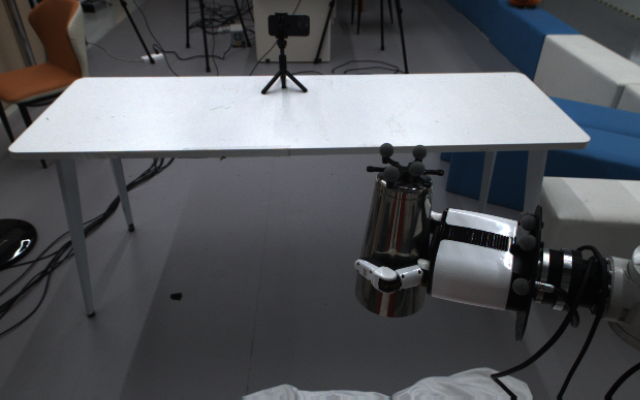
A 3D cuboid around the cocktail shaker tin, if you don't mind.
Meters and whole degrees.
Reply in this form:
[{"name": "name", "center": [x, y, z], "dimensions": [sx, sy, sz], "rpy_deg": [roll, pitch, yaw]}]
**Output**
[{"name": "cocktail shaker tin", "center": [0.097, 0.048, 0.601], "dimensions": [0.093, 0.170, 0.093], "rpy_deg": [2, 28, -1]}]
